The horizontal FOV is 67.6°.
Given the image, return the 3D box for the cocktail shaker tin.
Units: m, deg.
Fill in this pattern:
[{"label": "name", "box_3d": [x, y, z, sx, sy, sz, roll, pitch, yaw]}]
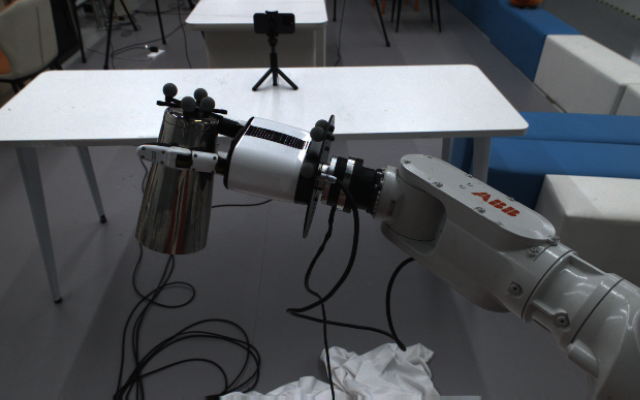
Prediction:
[{"label": "cocktail shaker tin", "box_3d": [-0.176, -0.030, 0.620, 0.093, 0.170, 0.093, 14, 19, -5]}]
